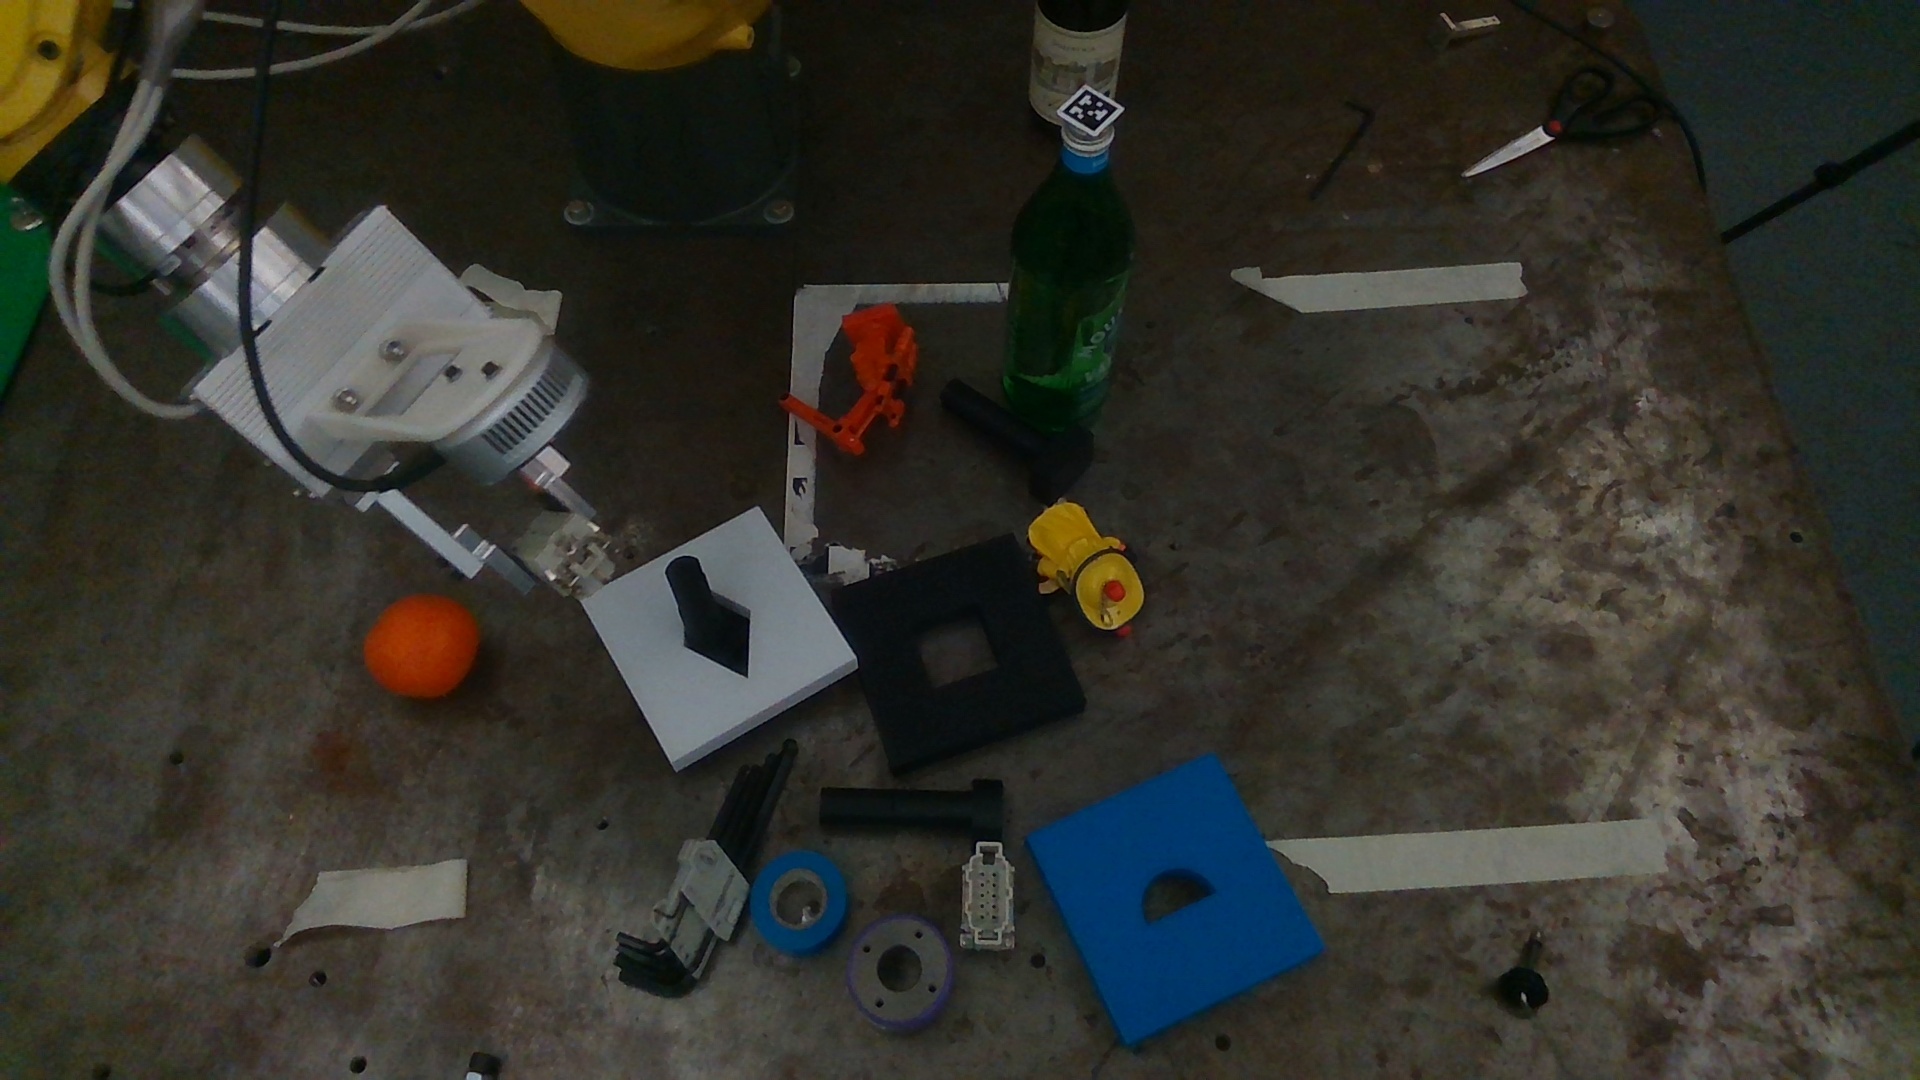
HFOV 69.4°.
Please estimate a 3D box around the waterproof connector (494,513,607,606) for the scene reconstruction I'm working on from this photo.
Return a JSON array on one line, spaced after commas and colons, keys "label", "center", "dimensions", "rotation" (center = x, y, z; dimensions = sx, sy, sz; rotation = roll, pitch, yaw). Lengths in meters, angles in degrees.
[{"label": "waterproof connector", "center": [-0.207, 0.012, 0.709], "dimensions": [0.038, 0.069, 0.036], "rotation": [44, 63, -25]}]
